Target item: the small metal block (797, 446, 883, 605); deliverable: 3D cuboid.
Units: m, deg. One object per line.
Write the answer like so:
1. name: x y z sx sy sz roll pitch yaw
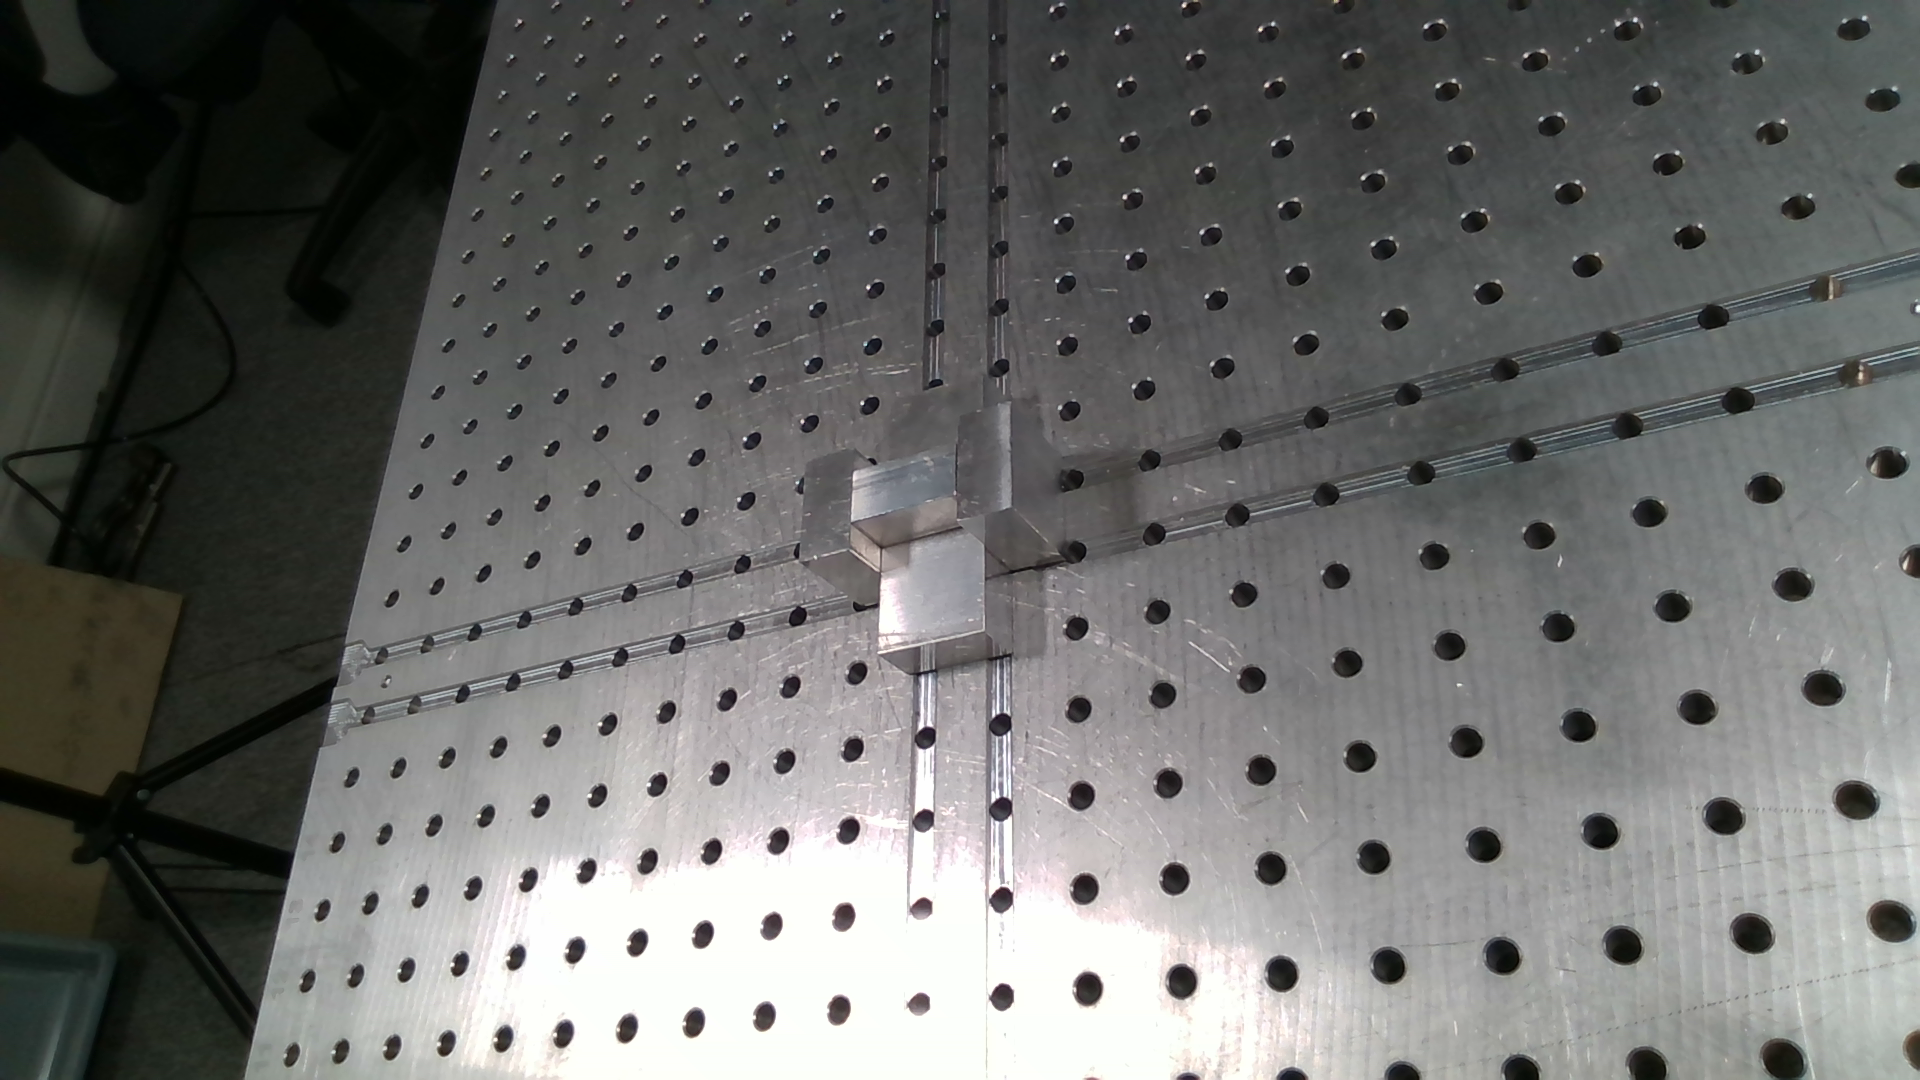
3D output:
1. small metal block: -0.045 -0.005 0.602 0.025 0.050 0.050 -14 59 25

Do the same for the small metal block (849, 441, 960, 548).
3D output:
1. small metal block: -0.012 -0.014 0.586 0.050 0.050 0.025 -14 59 25

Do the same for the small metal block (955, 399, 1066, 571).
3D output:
1. small metal block: 0.021 -0.022 0.570 0.025 0.050 0.050 -14 59 25

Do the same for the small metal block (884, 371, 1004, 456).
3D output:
1. small metal block: -0.006 -0.041 0.614 0.050 0.025 0.050 -14 59 25

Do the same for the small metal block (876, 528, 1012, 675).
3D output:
1. small metal block: -0.006 0.025 0.579 0.050 0.025 0.050 -13 59 25
